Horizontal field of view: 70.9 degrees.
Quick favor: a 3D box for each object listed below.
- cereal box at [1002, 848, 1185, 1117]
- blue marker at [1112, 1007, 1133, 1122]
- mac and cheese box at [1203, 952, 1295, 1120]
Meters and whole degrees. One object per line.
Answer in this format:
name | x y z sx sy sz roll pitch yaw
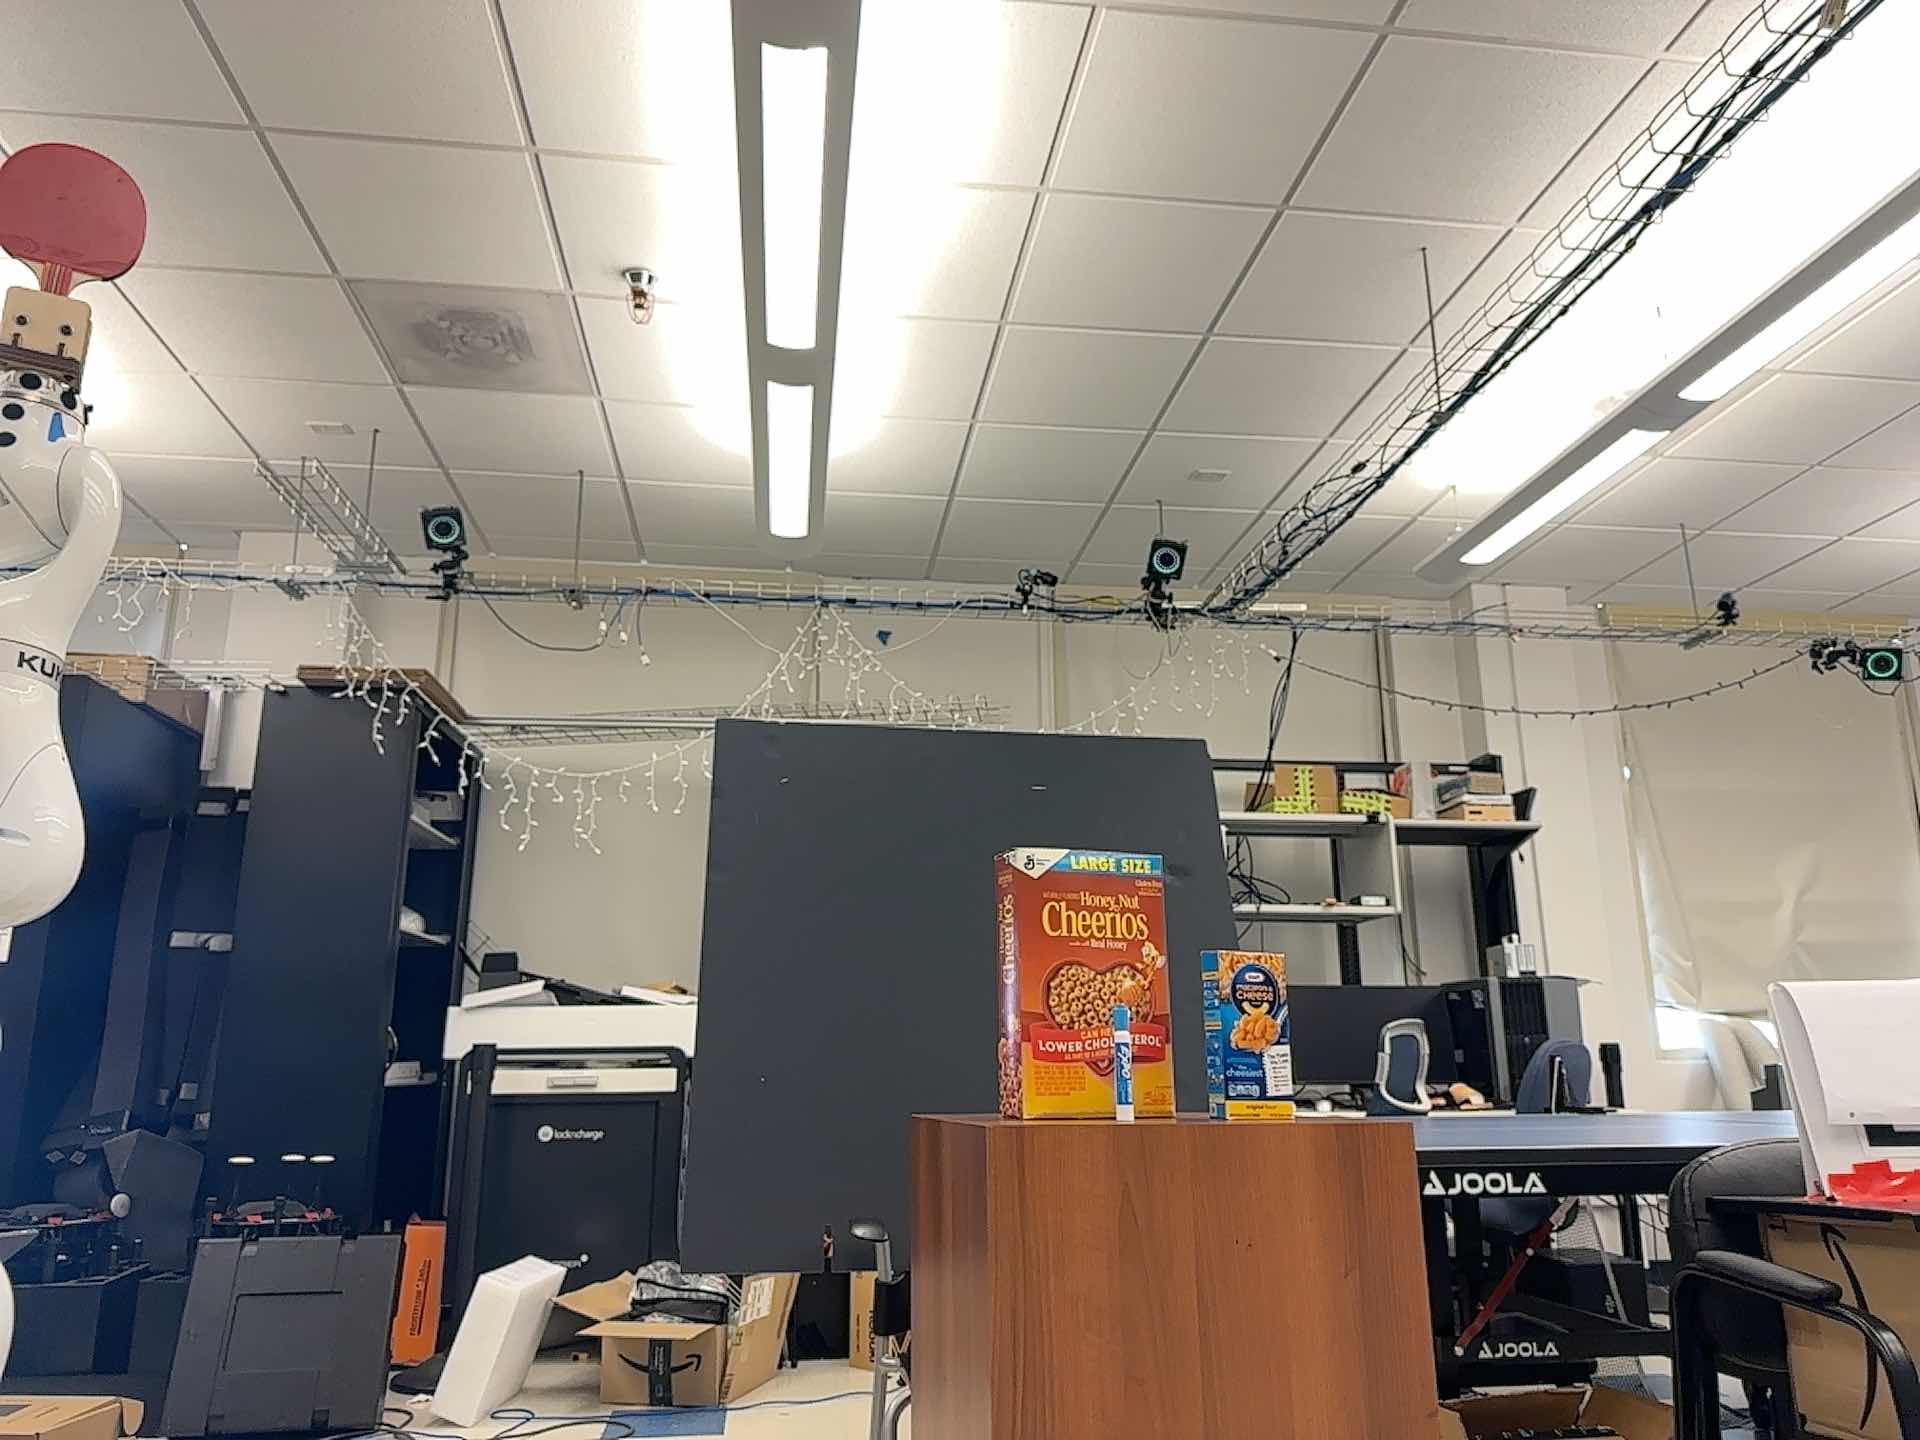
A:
cereal box | 0.155 0.308 1.591 0.195 0.297 0.065 6 -16 -19
blue marker | 0.177 0.375 1.474 0.020 0.121 0.020 0 -13 0
mac and cheese box | 0.330 0.361 1.546 0.088 0.181 0.035 4 -16 -13
